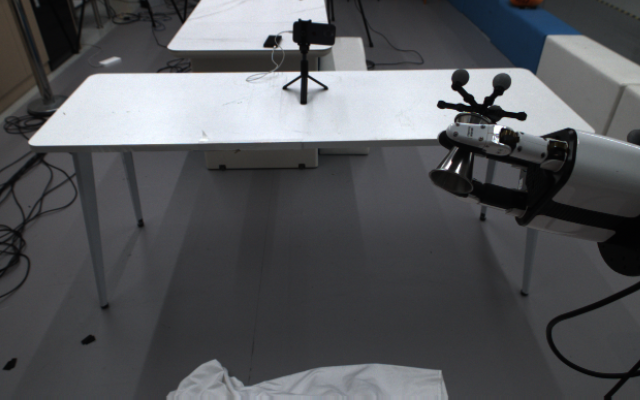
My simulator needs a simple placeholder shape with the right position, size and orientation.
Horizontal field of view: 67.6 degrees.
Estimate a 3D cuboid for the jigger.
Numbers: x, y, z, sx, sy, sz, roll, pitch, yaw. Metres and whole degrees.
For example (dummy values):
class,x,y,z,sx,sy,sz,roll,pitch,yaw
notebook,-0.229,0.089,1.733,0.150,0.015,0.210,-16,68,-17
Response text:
class,x,y,z,sx,sy,sz,roll,pitch,yaw
jigger,0.138,-0.050,0.473,0.043,0.043,0.071,20,72,24
